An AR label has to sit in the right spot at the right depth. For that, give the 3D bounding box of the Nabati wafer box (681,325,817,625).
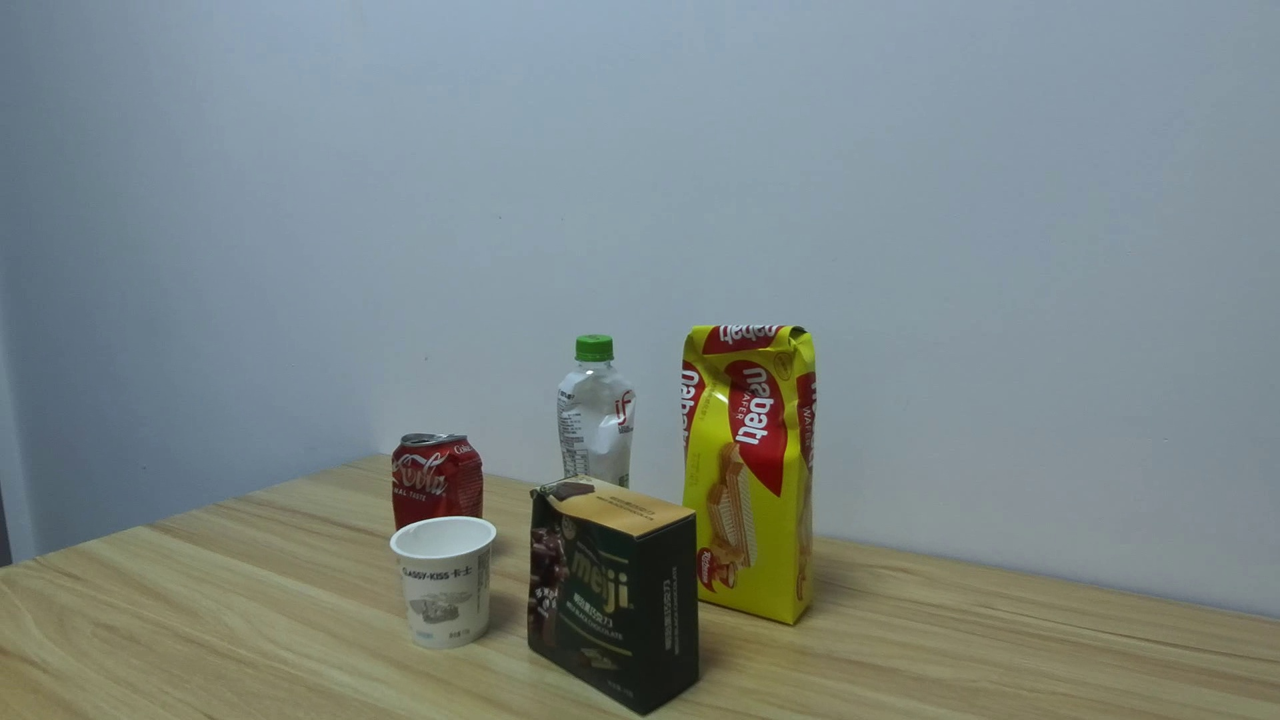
[{"bbox_3d":[0.076,0.078,0.508,0.113,0.205,0.043,3,8,33],"label":"Nabati wafer box"}]

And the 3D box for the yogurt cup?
[{"bbox_3d":[-0.132,0.152,0.484,0.072,0.068,0.072,-1,9,0],"label":"yogurt cup"}]

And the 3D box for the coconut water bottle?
[{"bbox_3d":[-0.037,0.074,0.598,0.069,0.186,0.069,1,5,0],"label":"coconut water bottle"}]

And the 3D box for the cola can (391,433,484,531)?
[{"bbox_3d":[-0.167,0.117,0.588,0.066,0.112,0.069,-8,10,-38],"label":"cola can"}]
